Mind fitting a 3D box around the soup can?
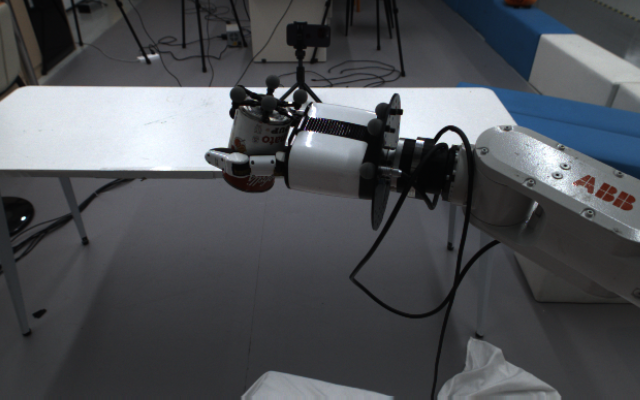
[{"bbox_3d":[-0.076,-0.068,0.587,0.067,0.101,0.067,14,35,-10],"label":"soup can"}]
